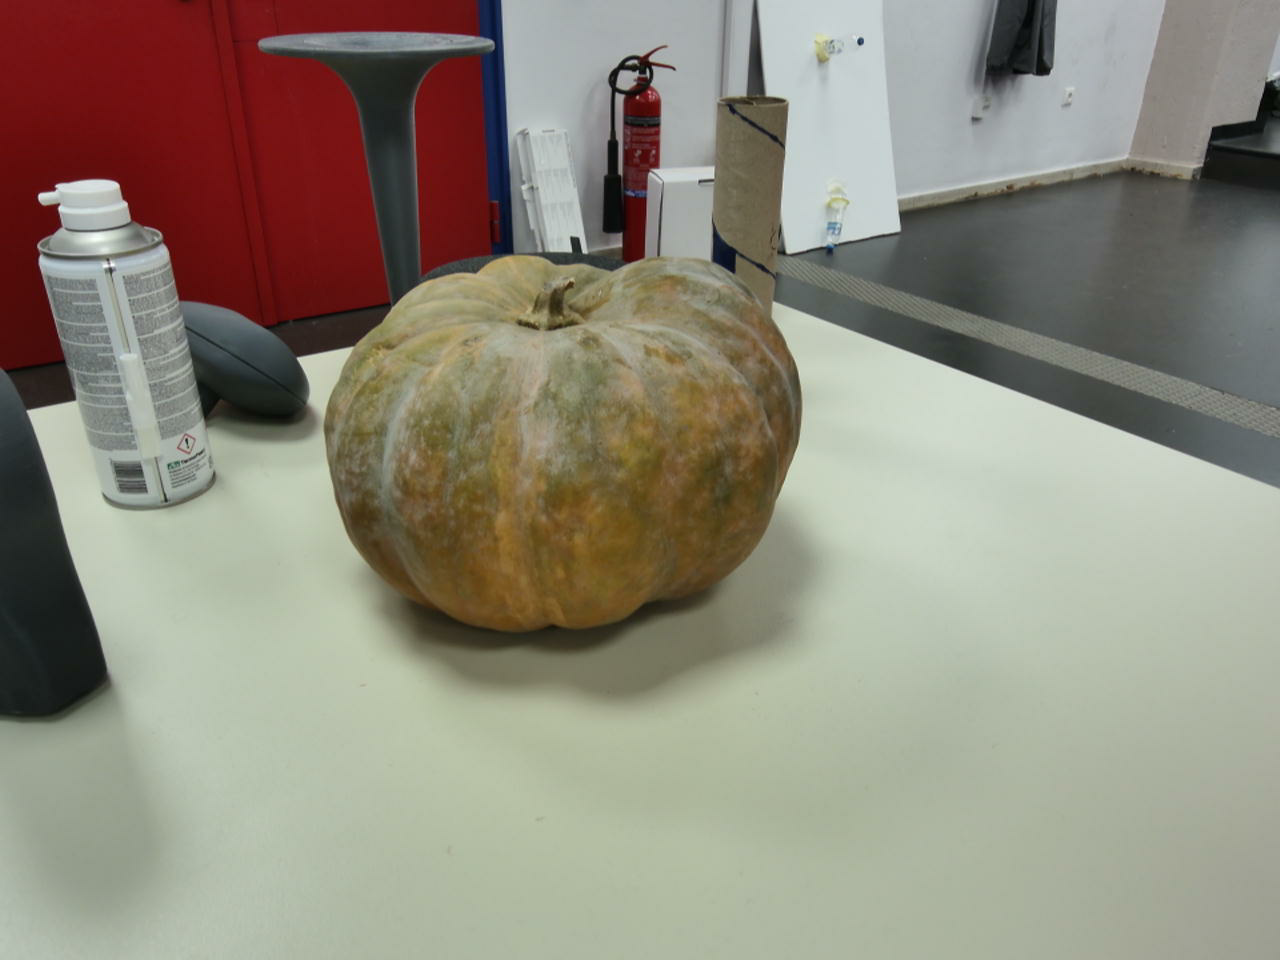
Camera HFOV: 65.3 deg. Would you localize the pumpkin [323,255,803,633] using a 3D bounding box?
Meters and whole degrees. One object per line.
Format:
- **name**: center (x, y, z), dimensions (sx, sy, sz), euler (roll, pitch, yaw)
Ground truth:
- **pumpkin**: center (-0.041, -0.026, 0.528), dimensions (0.252, 0.169, 0.251), euler (0, 26, 0)
